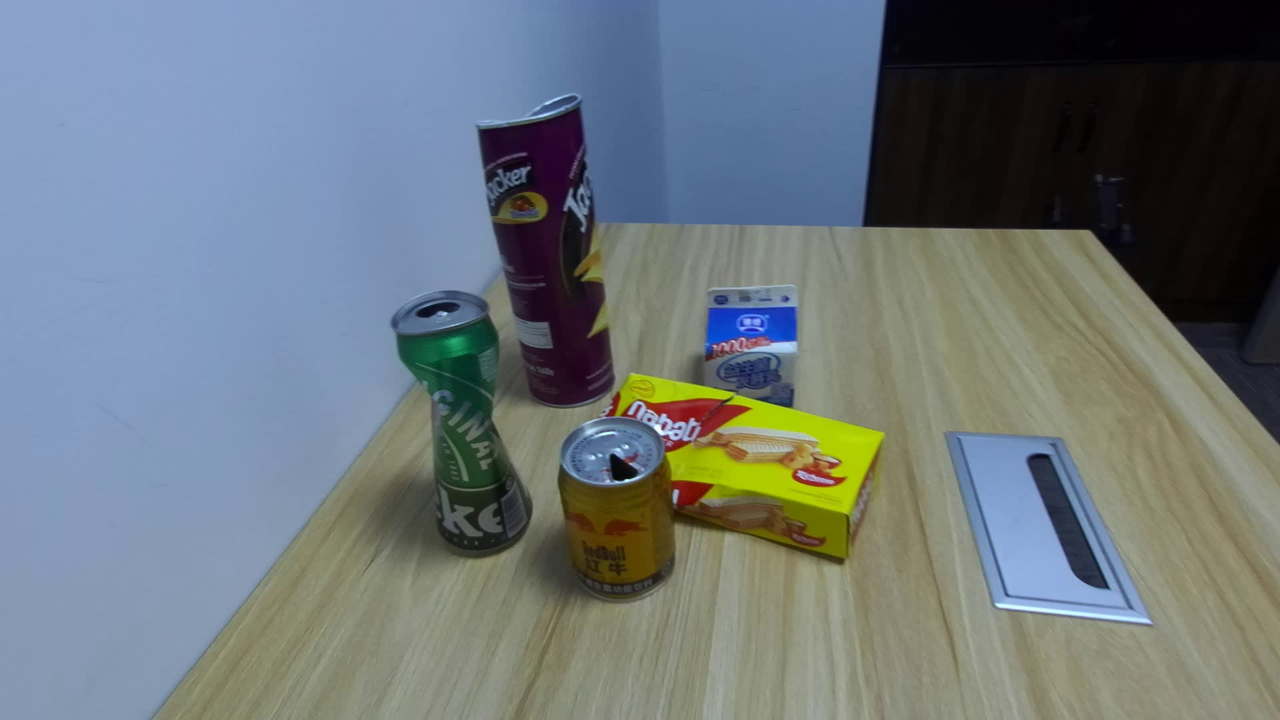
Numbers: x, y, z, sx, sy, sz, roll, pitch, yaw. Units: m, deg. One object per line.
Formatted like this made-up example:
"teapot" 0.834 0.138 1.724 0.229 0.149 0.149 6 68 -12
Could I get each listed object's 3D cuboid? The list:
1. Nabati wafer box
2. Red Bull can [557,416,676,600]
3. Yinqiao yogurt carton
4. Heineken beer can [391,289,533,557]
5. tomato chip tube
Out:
"Nabati wafer box" 0.055 0.068 0.494 0.203 0.042 0.107 13 35 25
"Red Bull can" -0.012 0.088 0.423 0.067 0.093 0.067 -2 33 2
"Yinqiao yogurt carton" 0.091 -0.020 0.579 0.075 0.092 0.074 1 33 10
"Heineken beer can" -0.109 0.044 0.443 0.066 0.164 0.078 6 30 17
"tomato chip tube" -0.069 -0.079 0.561 0.078 0.235 0.076 -8 32 -4
